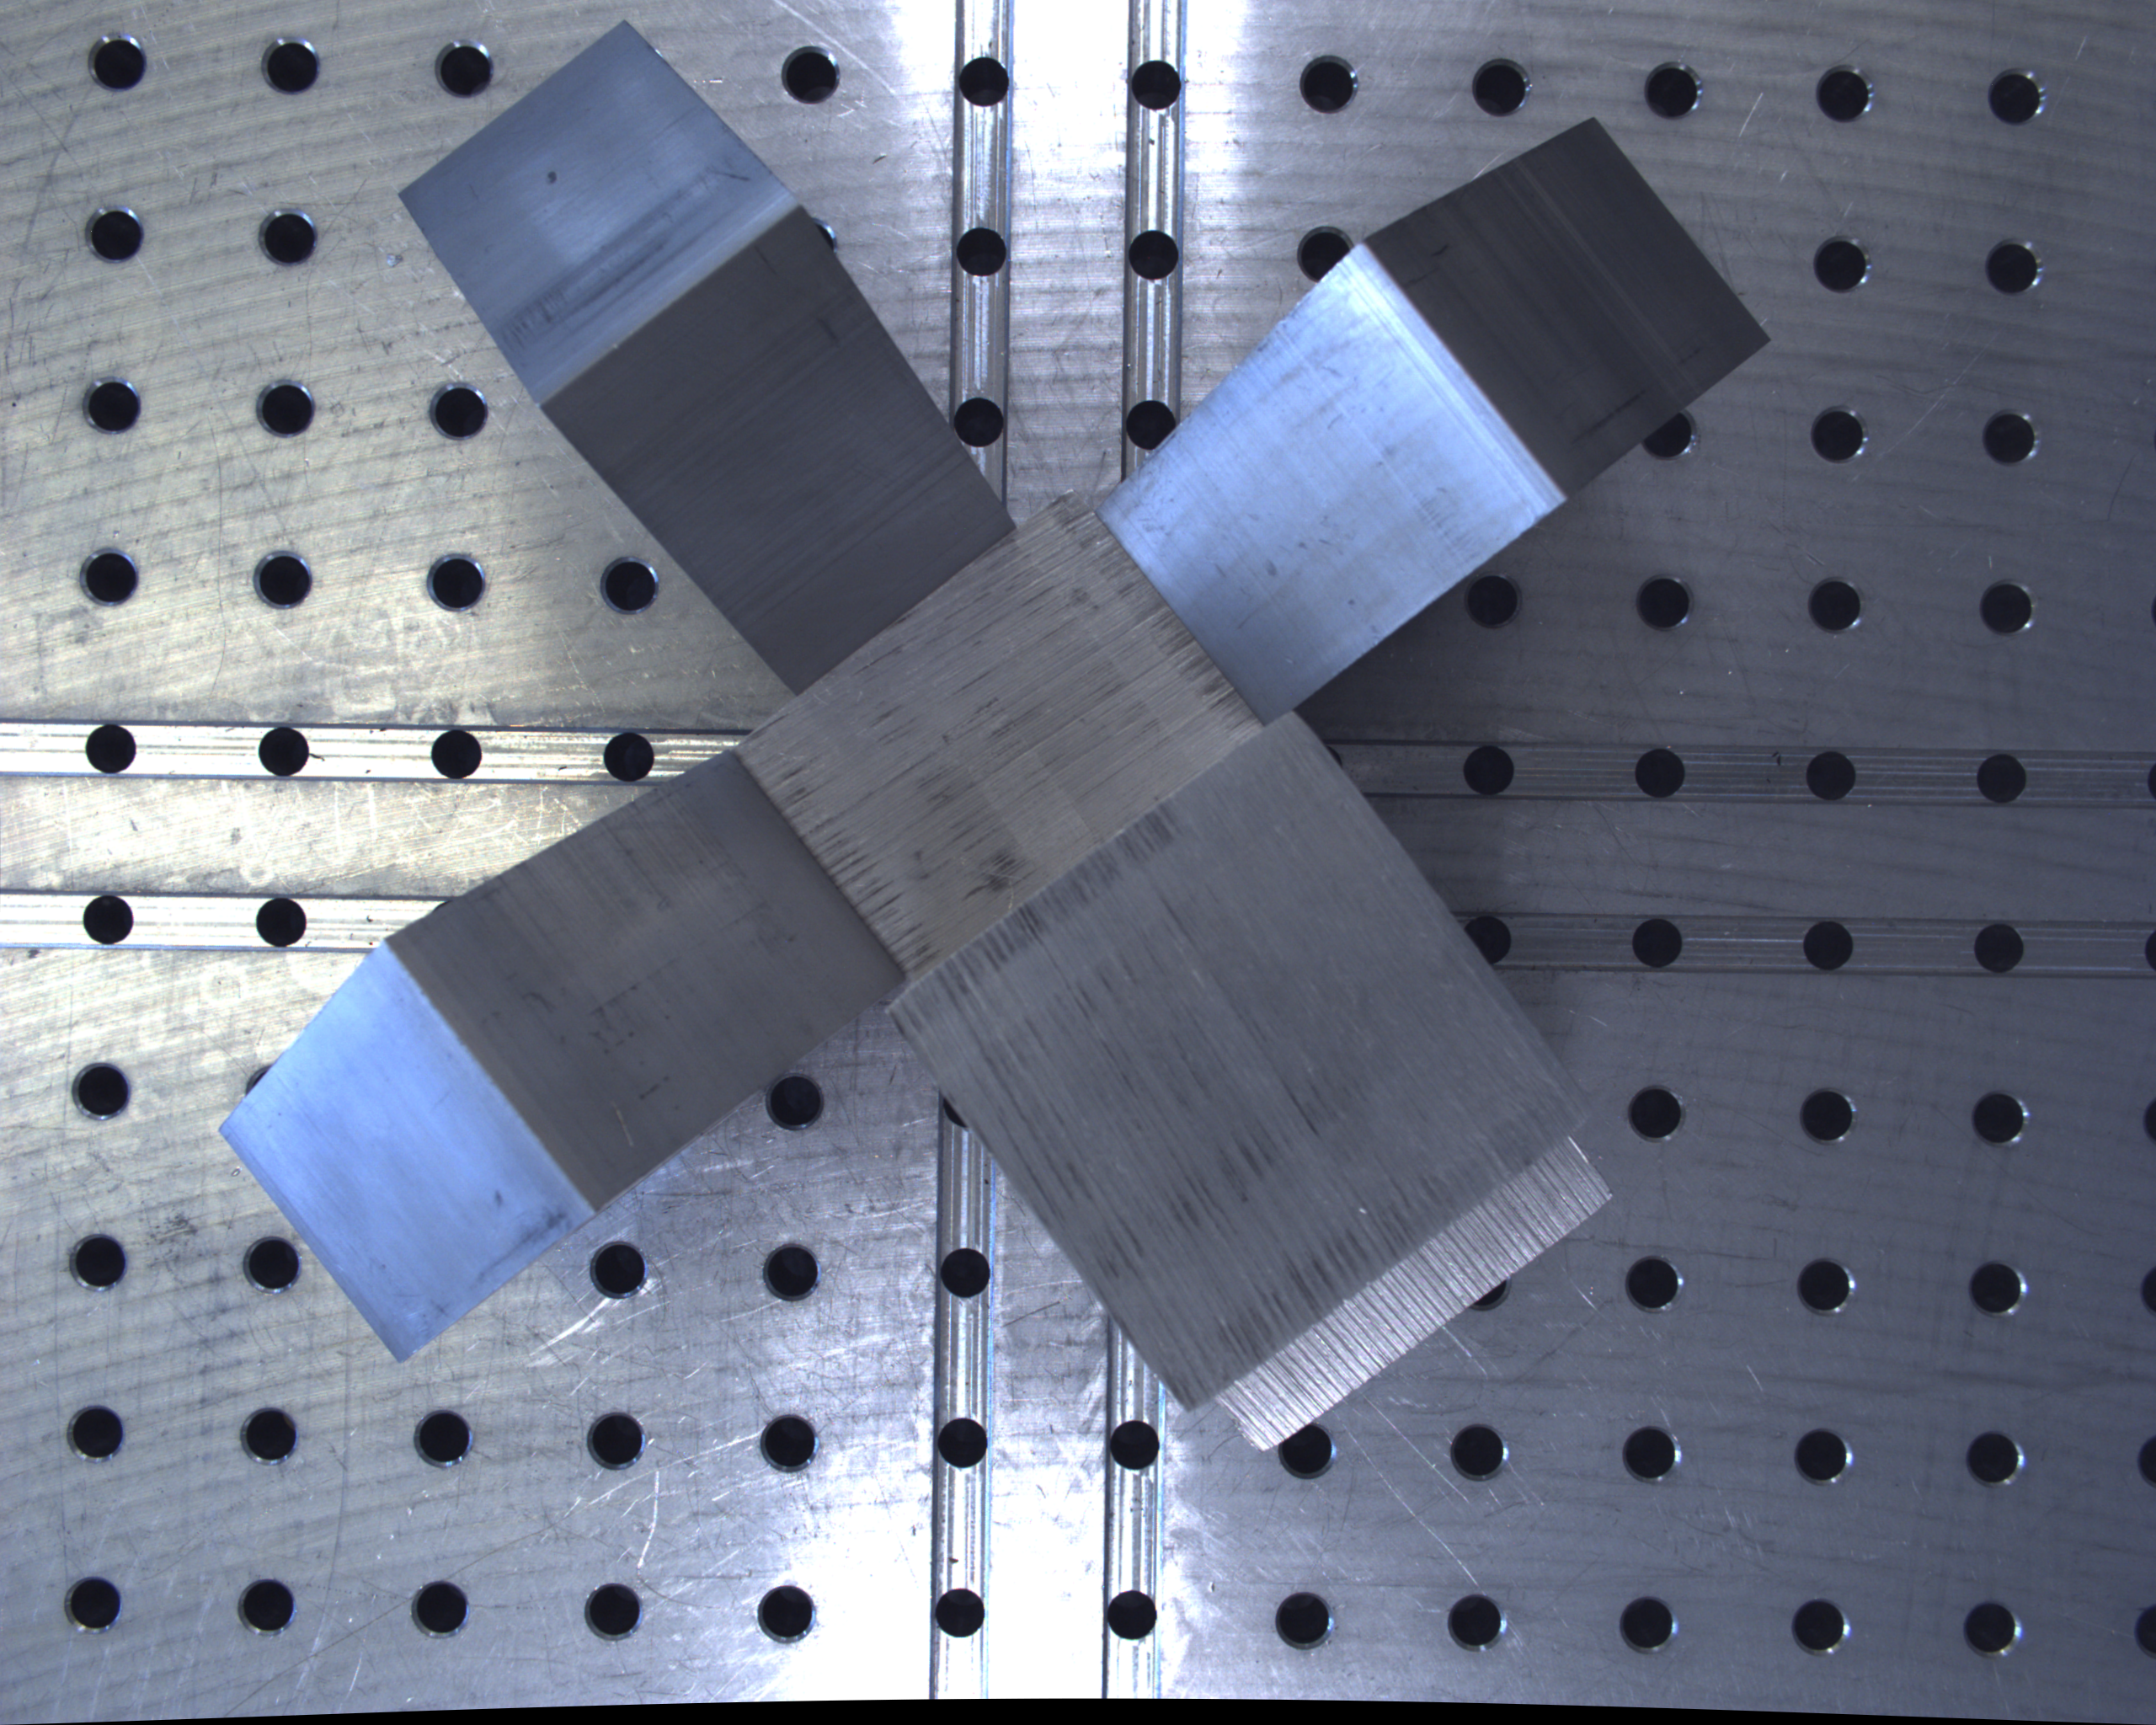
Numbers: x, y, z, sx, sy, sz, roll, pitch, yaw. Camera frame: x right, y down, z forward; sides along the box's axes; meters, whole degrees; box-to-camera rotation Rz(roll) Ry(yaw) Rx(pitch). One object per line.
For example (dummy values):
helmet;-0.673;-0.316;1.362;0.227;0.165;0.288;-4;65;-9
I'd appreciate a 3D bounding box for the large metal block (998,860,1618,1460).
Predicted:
large metal block;0.041;0.052;0.400;0.080;0.050;0.080;-37;89;-1

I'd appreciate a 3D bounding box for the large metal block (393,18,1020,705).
large metal block;-0.065;-0.088;0.370;0.050;0.080;0.080;-38;51;0

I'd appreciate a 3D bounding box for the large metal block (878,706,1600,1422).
large metal block;0.025;0.031;0.350;0.080;0.050;0.080;-37;91;-1

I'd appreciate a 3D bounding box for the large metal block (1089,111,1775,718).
large metal block;0.062;-0.077;0.371;0.050;0.080;0.080;52;50;0

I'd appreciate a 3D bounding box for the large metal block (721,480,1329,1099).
large metal block;-0.008;-0.013;0.401;0.080;0.050;0.080;-38;90;0

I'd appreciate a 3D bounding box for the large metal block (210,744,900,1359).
large metal block;-0.092;0.033;0.370;0.050;0.080;0.080;52;132;1
